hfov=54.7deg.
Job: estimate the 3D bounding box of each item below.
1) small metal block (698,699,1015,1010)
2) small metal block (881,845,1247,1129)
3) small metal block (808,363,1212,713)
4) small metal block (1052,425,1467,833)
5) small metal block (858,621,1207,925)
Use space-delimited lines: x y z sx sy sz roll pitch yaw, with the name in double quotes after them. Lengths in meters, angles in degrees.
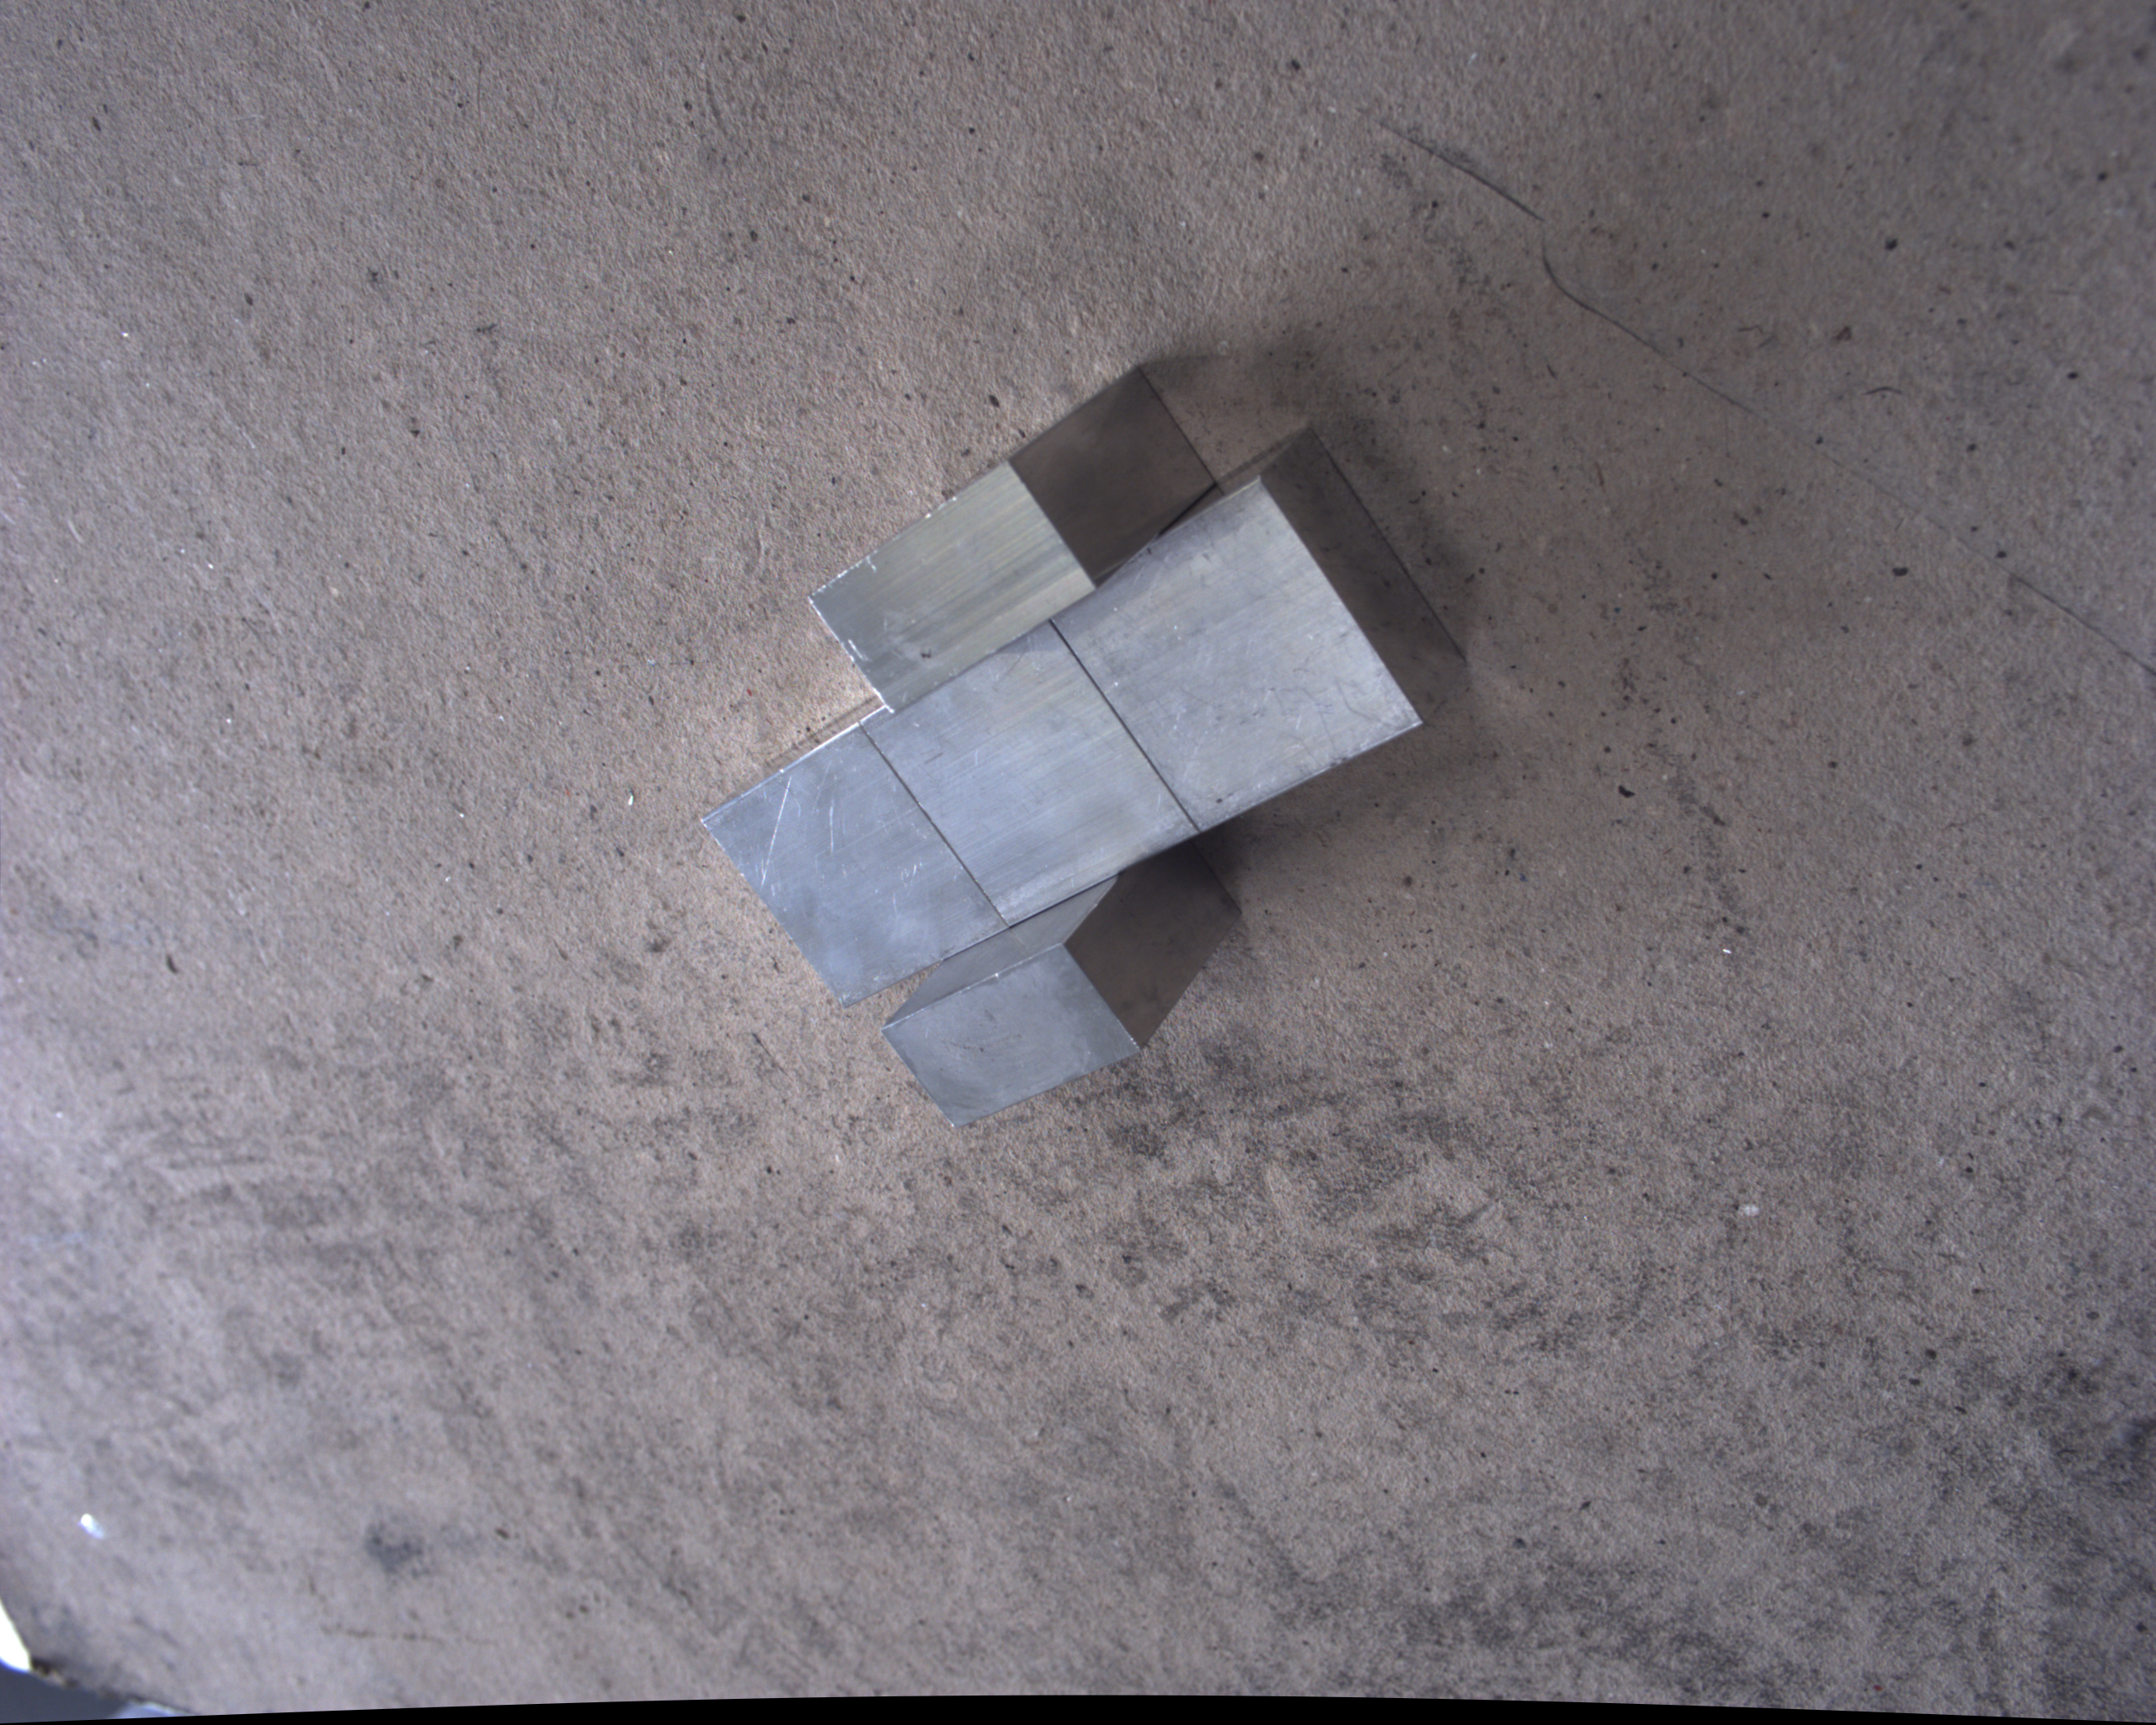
-0.040 -0.004 0.427 0.050 0.025 0.050 -27 104 37 "small metal block"
-0.002 0.021 0.407 0.050 0.050 0.025 -27 103 37 "small metal block"
-0.011 -0.057 0.363 0.050 0.050 0.025 -26 104 38 "small metal block"
0.031 -0.040 0.367 0.050 0.025 0.050 -27 104 37 "small metal block"
-0.005 -0.022 0.397 0.050 0.025 0.050 -27 104 37 "small metal block"
